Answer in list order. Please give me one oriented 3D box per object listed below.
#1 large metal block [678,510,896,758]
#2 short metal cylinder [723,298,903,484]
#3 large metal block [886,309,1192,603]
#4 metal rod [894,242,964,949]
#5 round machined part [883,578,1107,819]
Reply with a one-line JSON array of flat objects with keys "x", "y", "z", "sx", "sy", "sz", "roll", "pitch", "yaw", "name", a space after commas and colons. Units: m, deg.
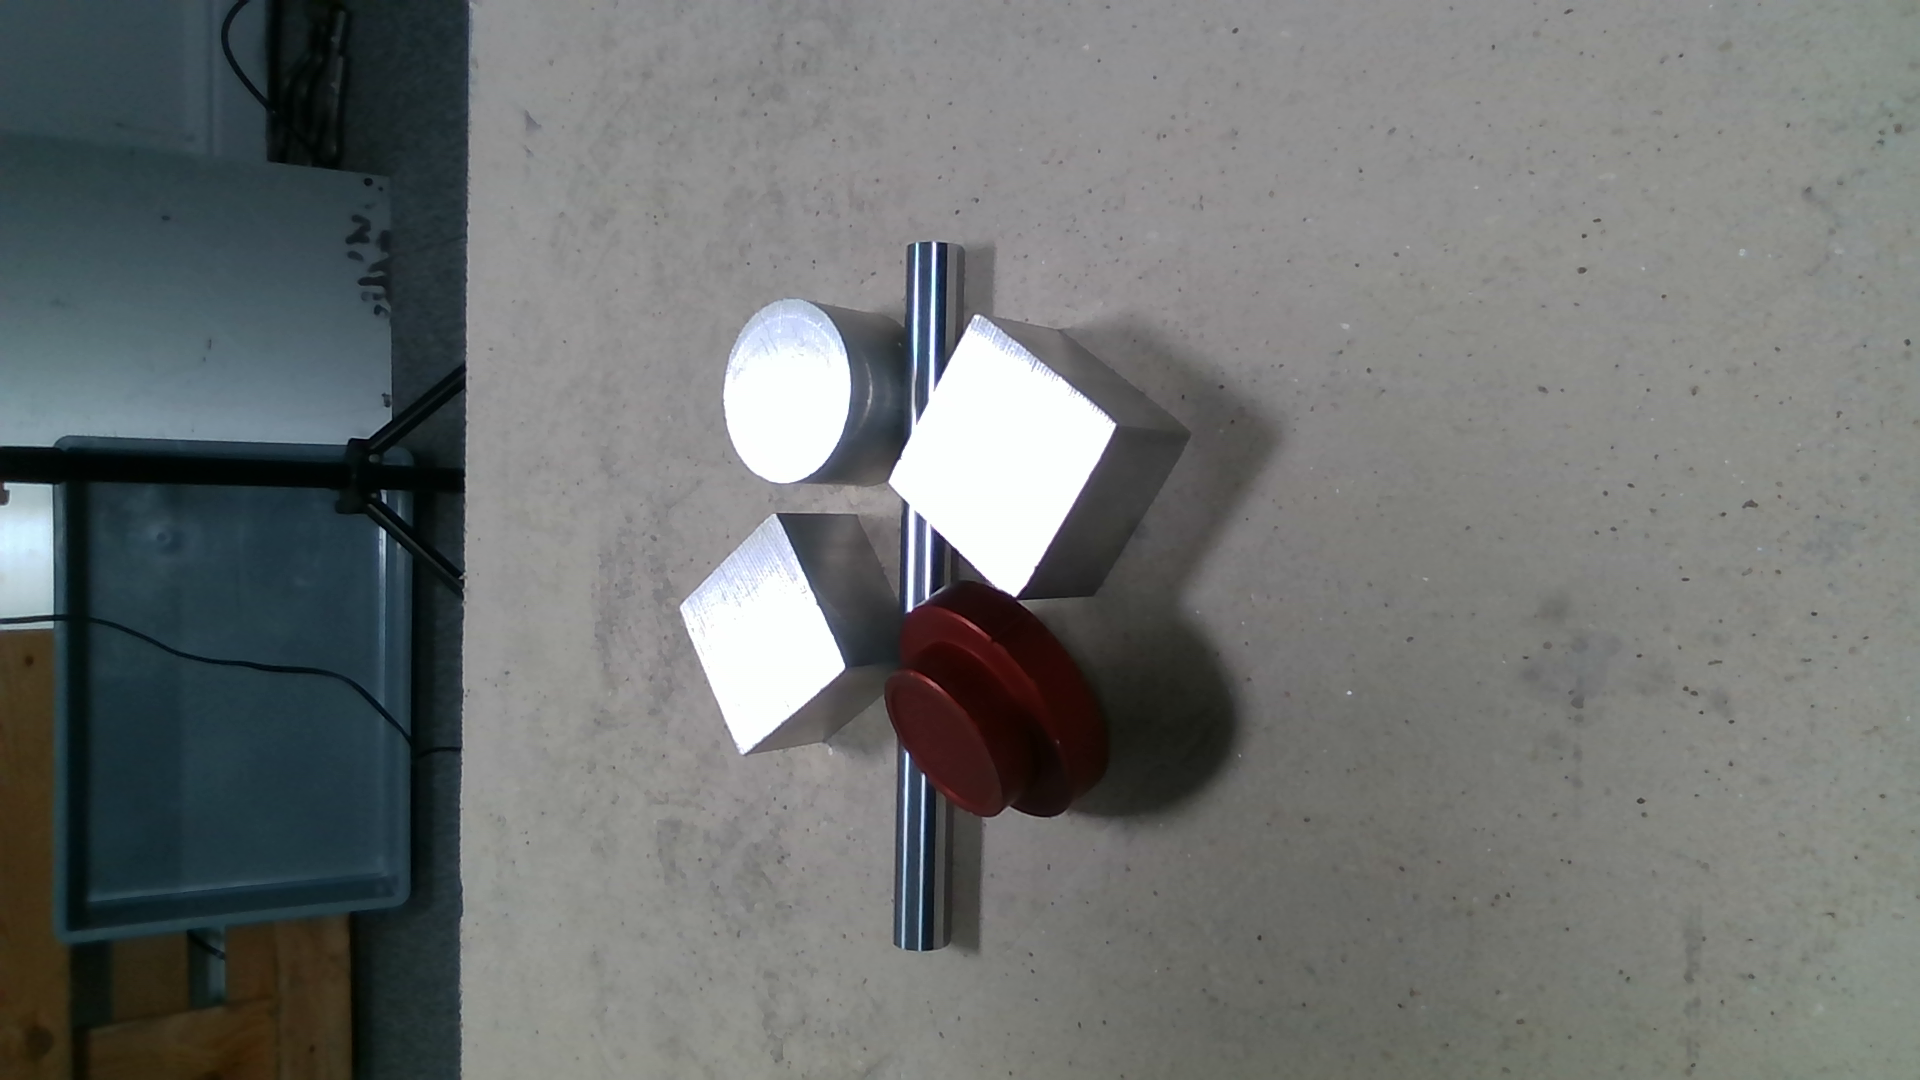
[{"x": -0.074, "y": 0.042, "z": 0.629, "sx": 0.080, "sy": 0.050, "sz": 0.080, "roll": -41, "pitch": 65, "yaw": 33, "name": "large metal block"}, {"x": -0.061, "y": -0.065, "z": 0.616, "sx": 0.080, "sy": 0.050, "sz": 0.080, "roll": 0, "pitch": 91, "yaw": 40, "name": "short metal cylinder"}, {"x": 0.029, "y": -0.032, "z": 0.538, "sx": 0.080, "sy": 0.050, "sz": 0.080, "roll": 44, "pitch": 117, "yaw": 31, "name": "large metal block"}, {"x": -0.014, "y": 0.024, "z": 0.595, "sx": 0.025, "sy": 0.025, "sz": 0.300, "roll": 2, "pitch": 92, "yaw": 40, "name": "metal rod"}, {"x": 0.007, "y": 0.067, "z": 0.535, "sx": 0.098, "sy": 0.042, "sz": 0.098, "roll": 37, "pitch": 144, "yaw": 33, "name": "round machined part"}]
